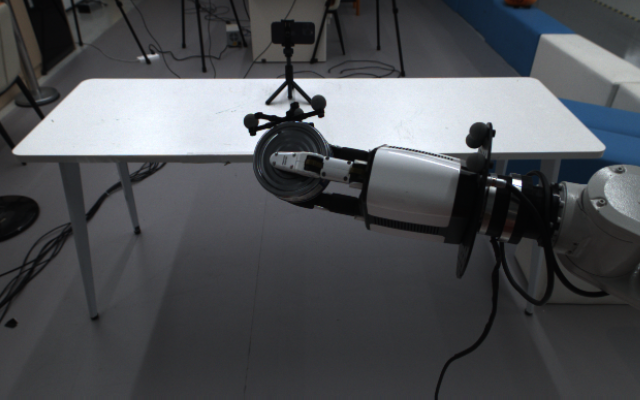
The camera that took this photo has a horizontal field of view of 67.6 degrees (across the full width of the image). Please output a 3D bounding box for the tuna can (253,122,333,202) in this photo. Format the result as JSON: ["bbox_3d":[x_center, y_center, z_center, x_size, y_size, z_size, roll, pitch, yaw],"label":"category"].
[{"bbox_3d":[-0.024,-0.036,0.527,0.085,0.085,0.034,12,-6,14],"label":"tuna can"}]
